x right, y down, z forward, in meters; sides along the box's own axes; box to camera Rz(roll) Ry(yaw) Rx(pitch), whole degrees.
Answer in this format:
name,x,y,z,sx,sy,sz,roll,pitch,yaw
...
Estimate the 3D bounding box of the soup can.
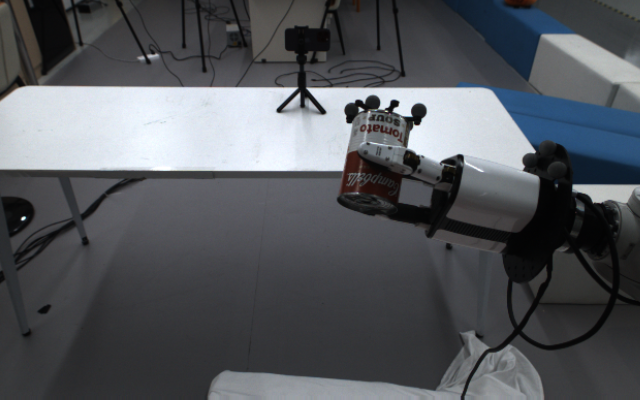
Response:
name,x,y,z,sx,sy,sz,roll,pitch,yaw
soup can,0.063,-0.043,0.544,0.067,0.067,0.101,9,74,9
